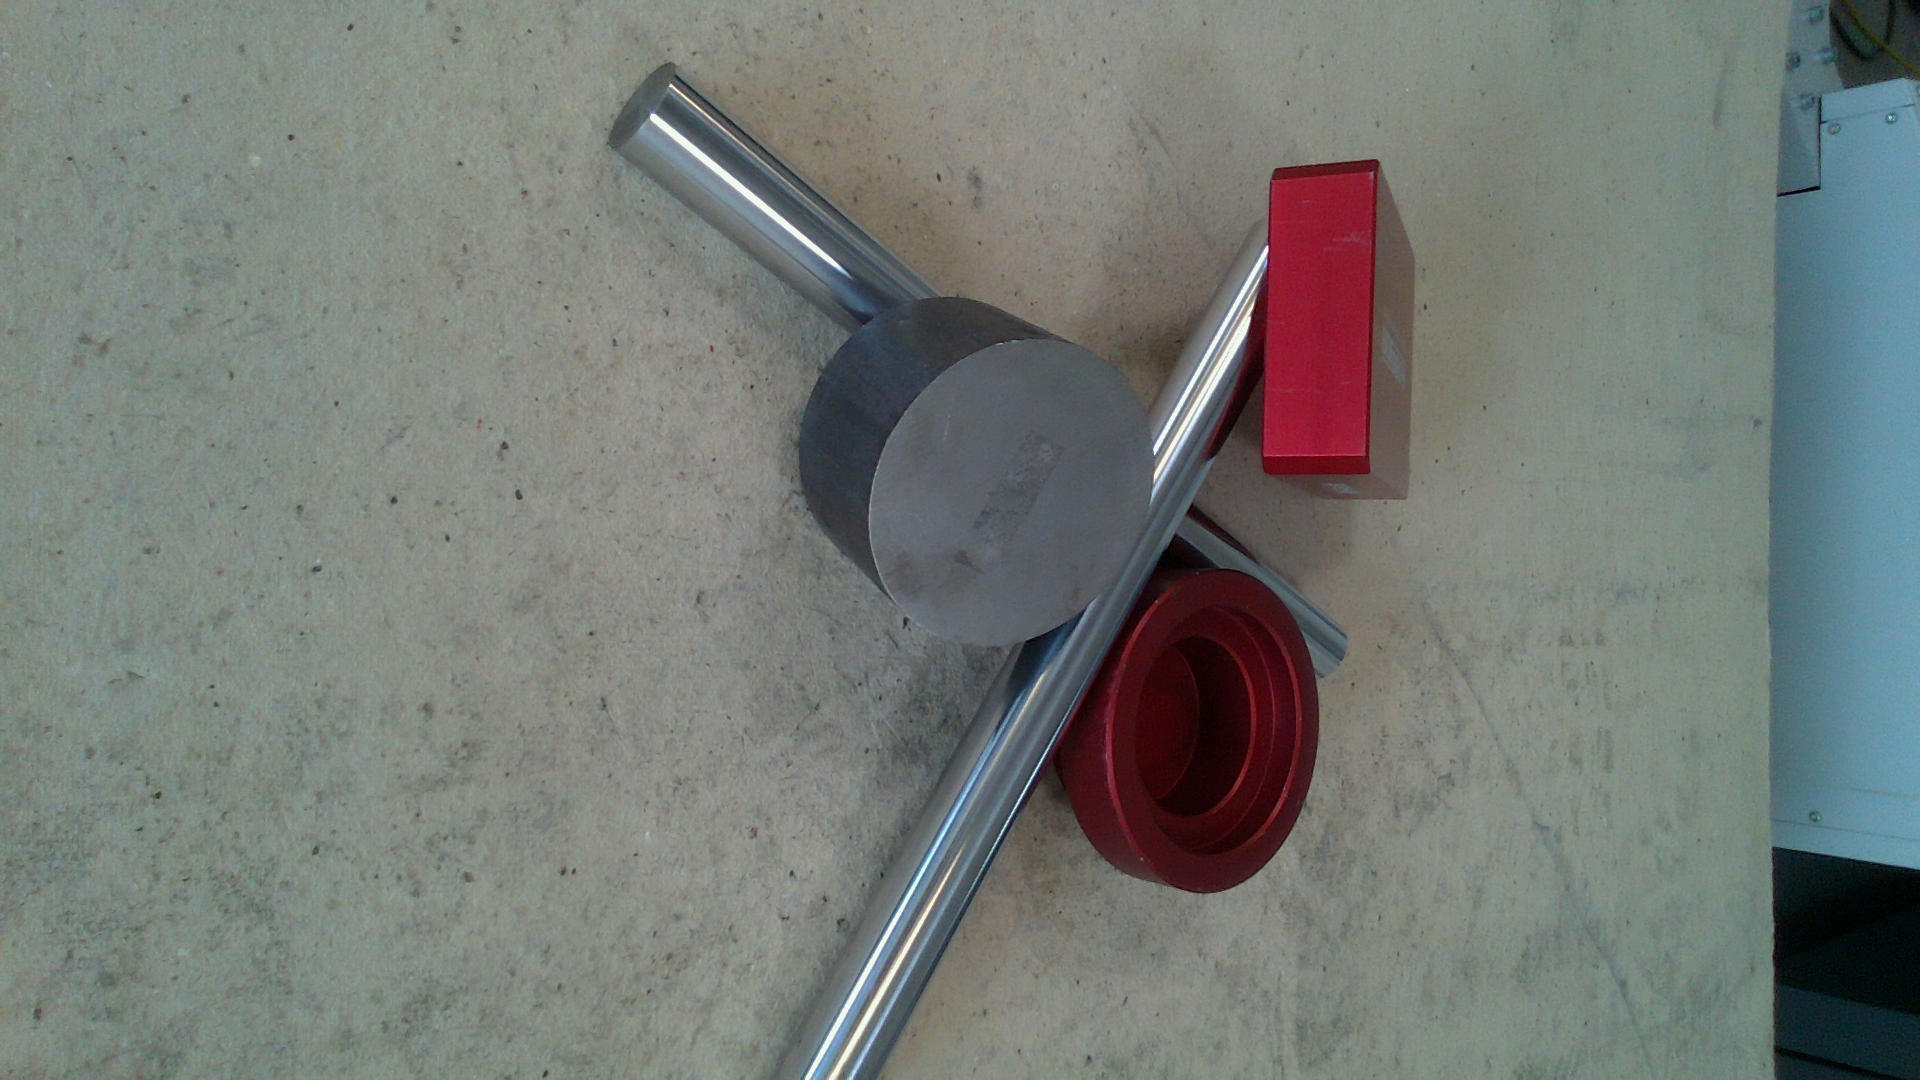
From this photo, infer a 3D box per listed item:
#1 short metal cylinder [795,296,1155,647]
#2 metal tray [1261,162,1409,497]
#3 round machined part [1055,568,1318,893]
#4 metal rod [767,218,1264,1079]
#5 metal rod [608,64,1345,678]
[{"bbox_3d":[0.003,-0.019,0.358,0.080,0.050,0.080,-10,114,-24],"label":"short metal cylinder"},{"bbox_3d":[0.127,-0.062,0.455,0.130,0.030,0.090,5,87,-67],"label":"metal tray"},{"bbox_3d":[0.066,0.058,0.433,0.098,0.042,0.098,0,90,-40],"label":"round machined part"},{"bbox_3d":[0.027,0.033,0.389,0.025,0.025,0.300,40,72,-32],"label":"metal rod"},{"bbox_3d":[0.026,-0.032,0.412,0.301,0.025,0.025,35,69,-34],"label":"metal rod"}]
